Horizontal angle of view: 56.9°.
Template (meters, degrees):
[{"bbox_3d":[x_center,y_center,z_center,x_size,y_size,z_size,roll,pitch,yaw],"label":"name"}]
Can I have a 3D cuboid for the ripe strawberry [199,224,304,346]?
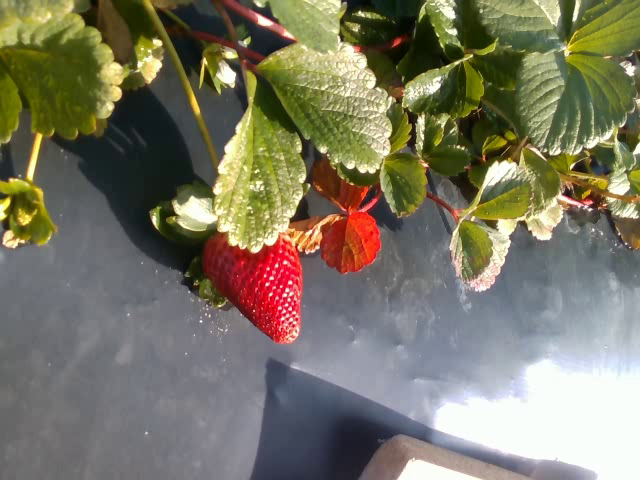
[{"bbox_3d":[-0.023,0.018,0.226,0.040,0.056,0.041,-24,-16,-9],"label":"ripe strawberry"}]
